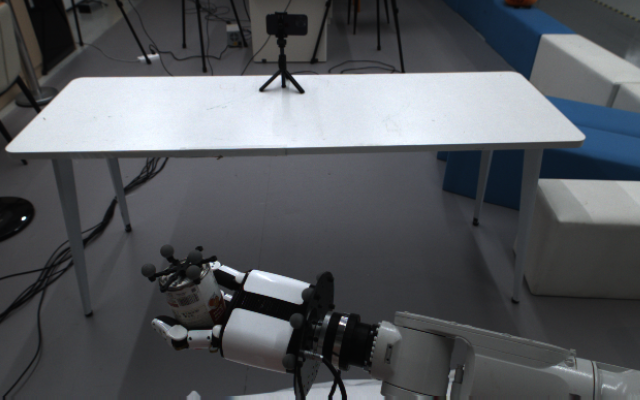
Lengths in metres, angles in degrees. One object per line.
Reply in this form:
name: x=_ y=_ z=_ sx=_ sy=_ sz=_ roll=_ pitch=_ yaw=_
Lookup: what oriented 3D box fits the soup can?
soup can: x=-0.160 y=0.135 z=0.631 sx=0.067 sy=0.101 sz=0.067 roll=-11 pitch=27 yaw=6
